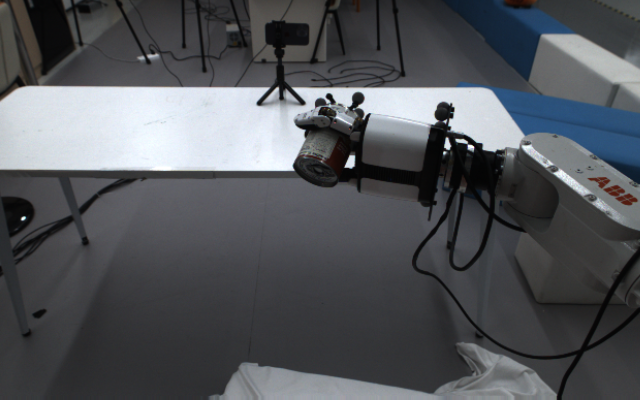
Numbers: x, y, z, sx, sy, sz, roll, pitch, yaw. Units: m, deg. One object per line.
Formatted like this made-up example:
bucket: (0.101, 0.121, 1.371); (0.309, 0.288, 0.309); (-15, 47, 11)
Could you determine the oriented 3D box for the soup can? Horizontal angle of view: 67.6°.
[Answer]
soup can: (0.012, -0.078, 0.684); (0.067, 0.067, 0.101); (15, 63, 18)
